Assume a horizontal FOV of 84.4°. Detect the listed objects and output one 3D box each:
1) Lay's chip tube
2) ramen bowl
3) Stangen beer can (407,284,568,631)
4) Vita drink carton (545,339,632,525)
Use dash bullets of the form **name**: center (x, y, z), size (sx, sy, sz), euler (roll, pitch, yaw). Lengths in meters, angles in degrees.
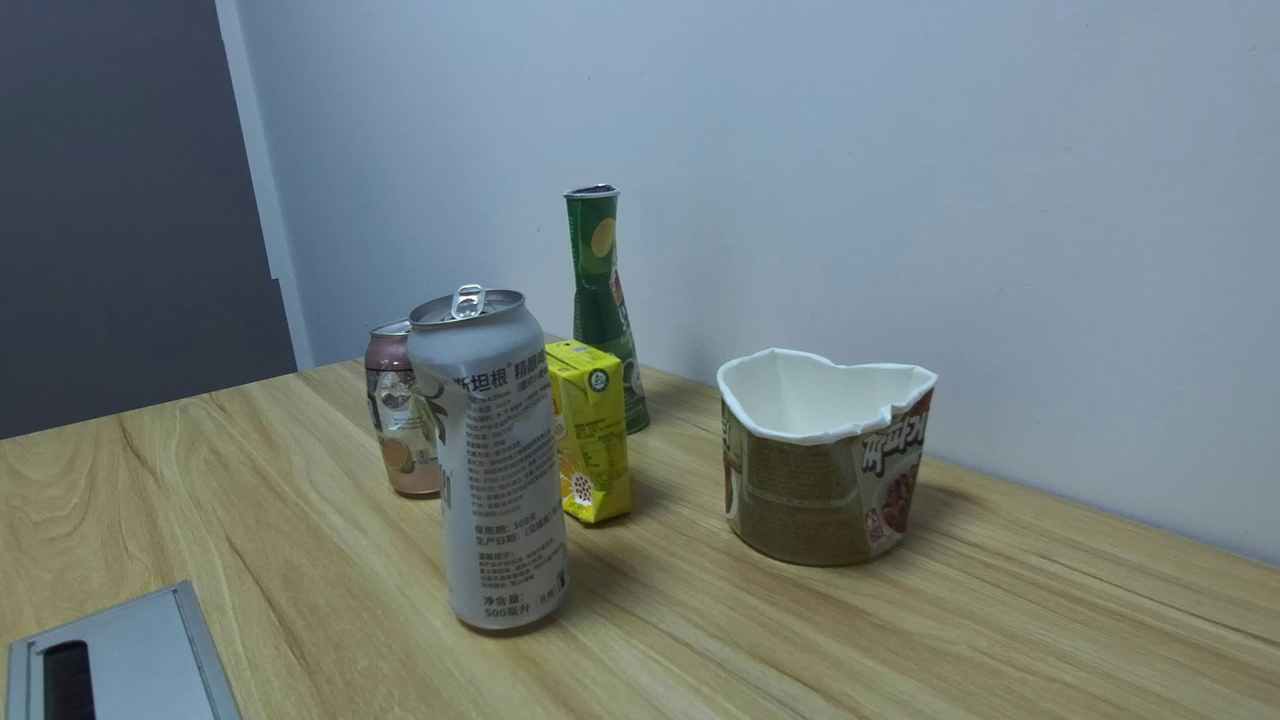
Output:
- **Lay's chip tube**: center (-0.032, -0.040, 0.588), size (0.069, 0.199, 0.074), euler (-16, 22, -32)
- **ramen bowl**: center (0.103, 0.057, 0.426), size (0.113, 0.097, 0.134), euler (10, 22, 34)
- **Stangen beer can**: center (-0.077, 0.050, 0.360), size (0.069, 0.173, 0.070), euler (1, 19, 13)
- **Vita drink carton**: center (-0.039, 0.048, 0.464), size (0.043, 0.109, 0.076), euler (-15, 21, -29)
